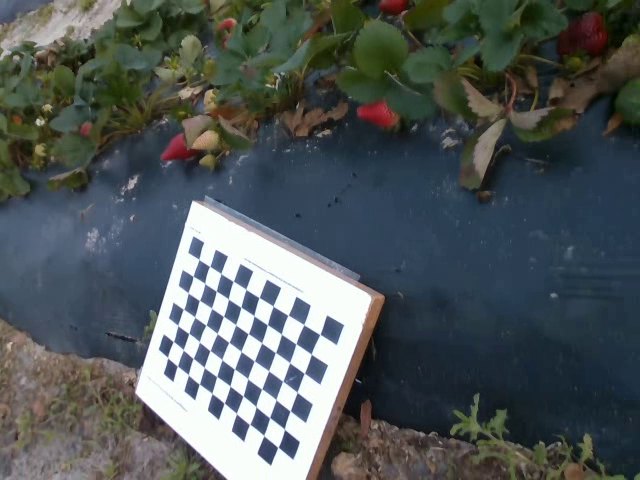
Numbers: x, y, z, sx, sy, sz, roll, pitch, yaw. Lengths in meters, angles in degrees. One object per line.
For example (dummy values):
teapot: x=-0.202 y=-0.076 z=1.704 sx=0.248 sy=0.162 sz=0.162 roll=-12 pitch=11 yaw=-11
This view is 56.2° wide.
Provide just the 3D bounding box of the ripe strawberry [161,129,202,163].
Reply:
ripe strawberry: x=-0.202 y=-0.132 z=0.854 sx=0.050 sy=0.034 sz=0.059 roll=12 pitch=45 yaw=40
